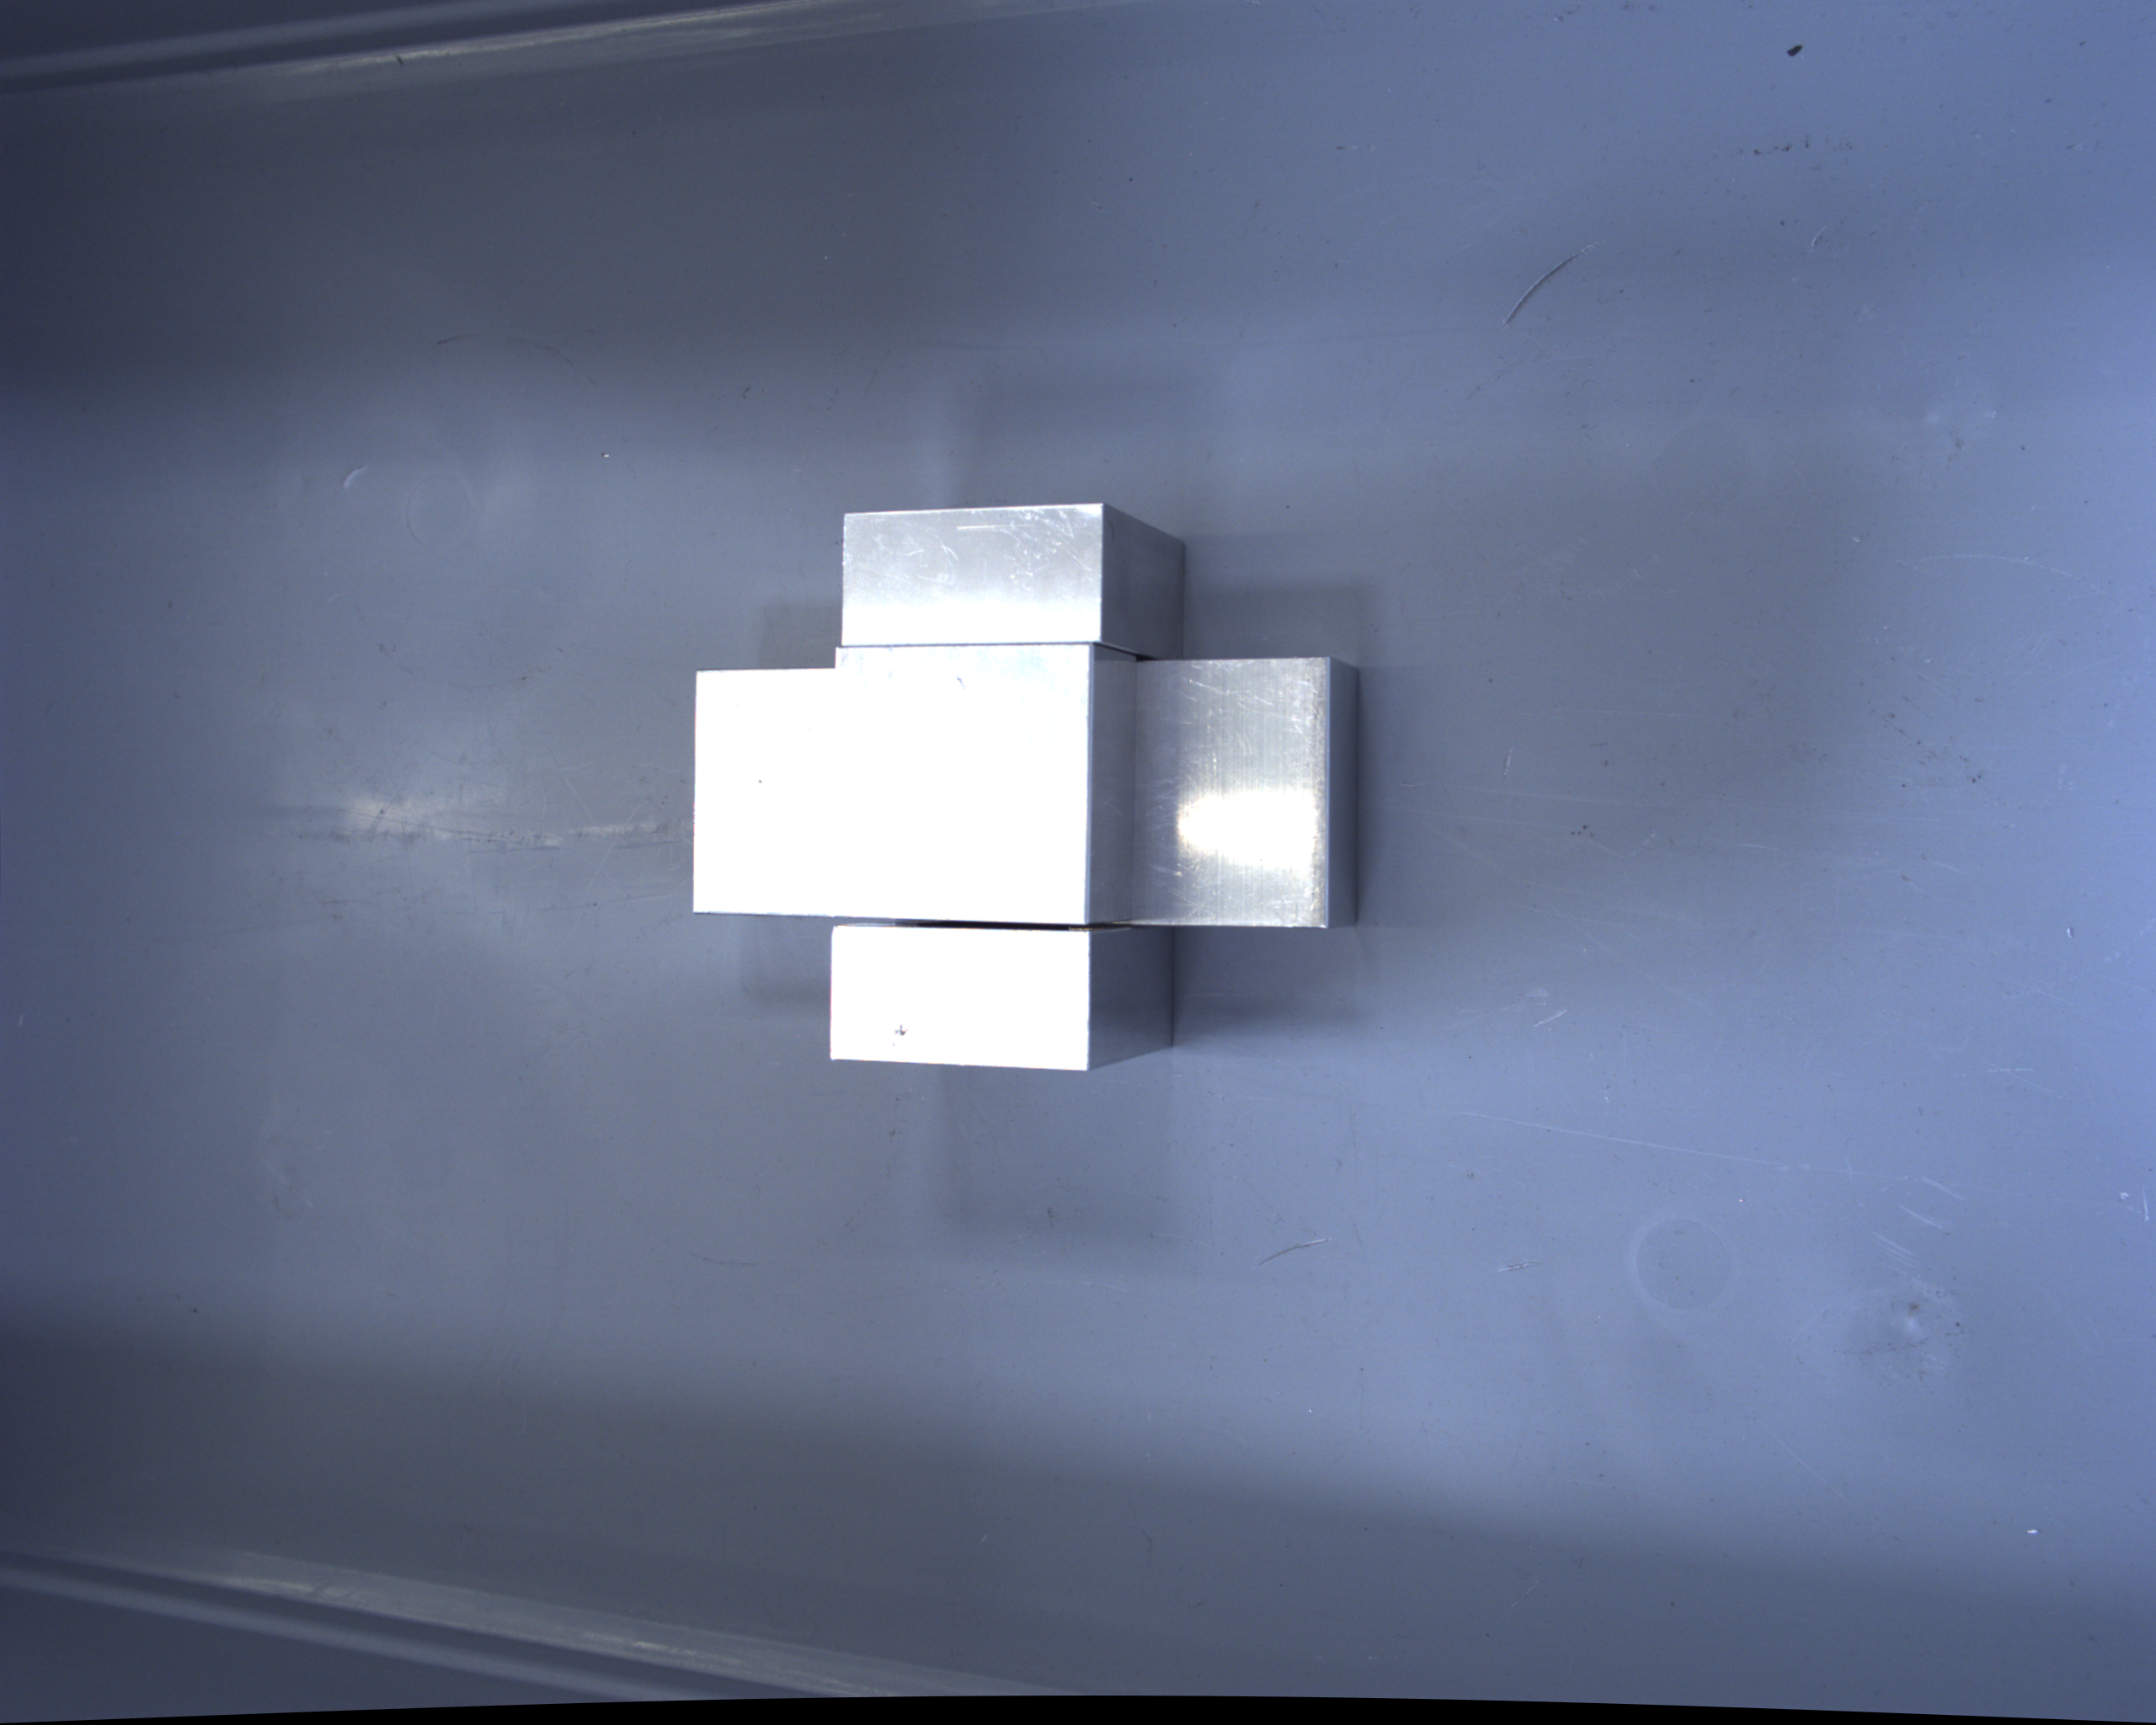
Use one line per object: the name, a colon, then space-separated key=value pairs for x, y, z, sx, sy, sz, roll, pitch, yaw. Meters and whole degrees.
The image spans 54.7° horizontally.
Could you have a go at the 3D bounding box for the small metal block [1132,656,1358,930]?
small metal block: x=0.026 y=-0.013 z=0.400 sx=0.050 sy=0.025 sz=0.050 roll=1 pitch=90 yaw=19

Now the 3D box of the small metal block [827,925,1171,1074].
small metal block: x=-0.014 y=0.024 z=0.399 sx=0.050 sy=0.050 sz=0.025 roll=1 pitch=91 yaw=20

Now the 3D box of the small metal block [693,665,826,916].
small metal block: x=-0.050 y=-0.014 z=0.426 sx=0.050 sy=0.025 sz=0.050 roll=1 pitch=90 yaw=20

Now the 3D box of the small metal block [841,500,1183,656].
small metal block: x=-0.011 y=-0.052 z=0.399 sx=0.050 sy=0.050 sz=0.025 roll=1 pitch=91 yaw=20

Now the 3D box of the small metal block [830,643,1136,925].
small metal block: x=-0.017 y=-0.014 z=0.387 sx=0.050 sy=0.025 sz=0.050 roll=1 pitch=90 yaw=19
